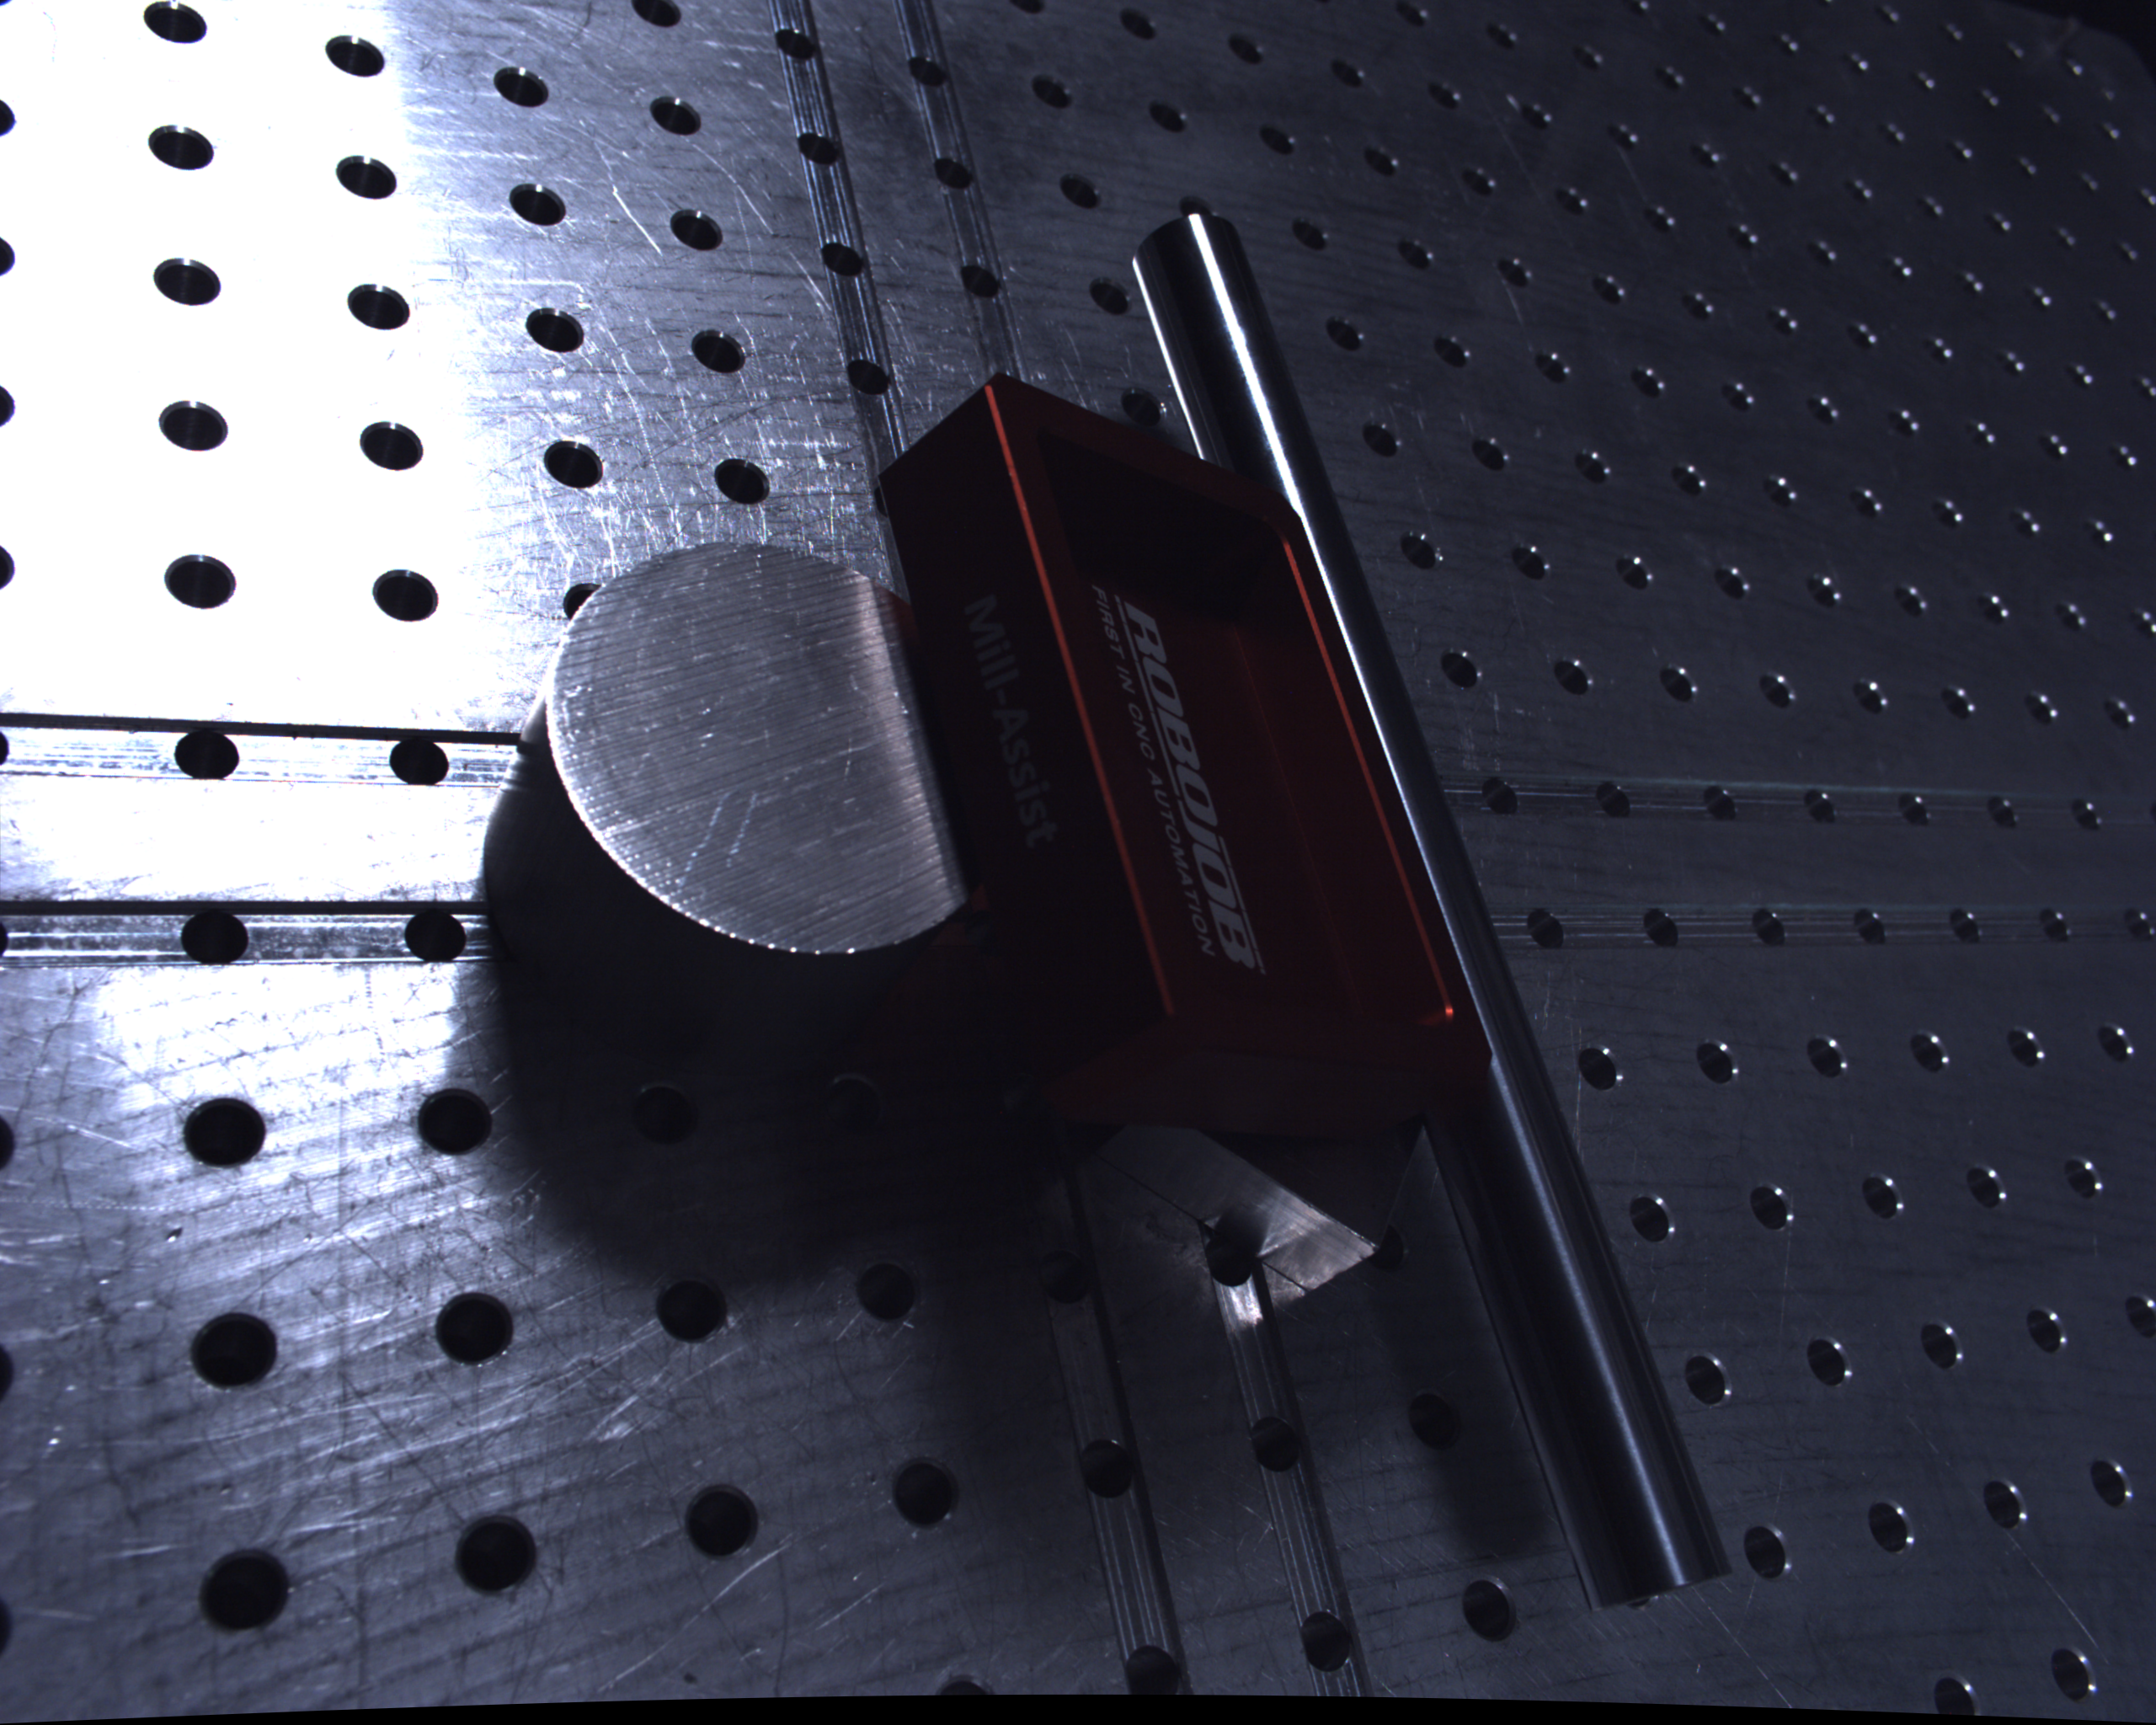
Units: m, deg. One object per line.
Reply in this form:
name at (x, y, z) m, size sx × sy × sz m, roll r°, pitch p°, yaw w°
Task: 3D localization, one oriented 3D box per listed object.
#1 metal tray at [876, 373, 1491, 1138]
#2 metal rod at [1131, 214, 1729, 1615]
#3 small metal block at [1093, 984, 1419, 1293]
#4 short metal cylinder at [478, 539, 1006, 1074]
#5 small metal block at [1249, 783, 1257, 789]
metal tray at (0.019, -0.017, 0.376) m, size 0.091 × 0.030 × 0.130 m, roll 11°, pitch 55°, yaw -46°
metal rod at (0.061, -0.007, 0.415) m, size 0.025 × 0.025 × 0.299 m, roll -1°, pitch 62°, yaw -29°
small metal block at (0.038, 0.046, 0.401) m, size 0.050 × 0.025 × 0.050 m, roll 34°, pitch 51°, yaw -7°
short metal cylinder at (-0.059, -0.009, 0.366) m, size 0.081 × 0.050 × 0.080 m, roll 14°, pitch 56°, yaw -21°
small metal block at (0.027, -0.031, 0.444) m, size 0.050 × 0.025 × 0.050 m, roll -16°, pitch 70°, yaw -35°
